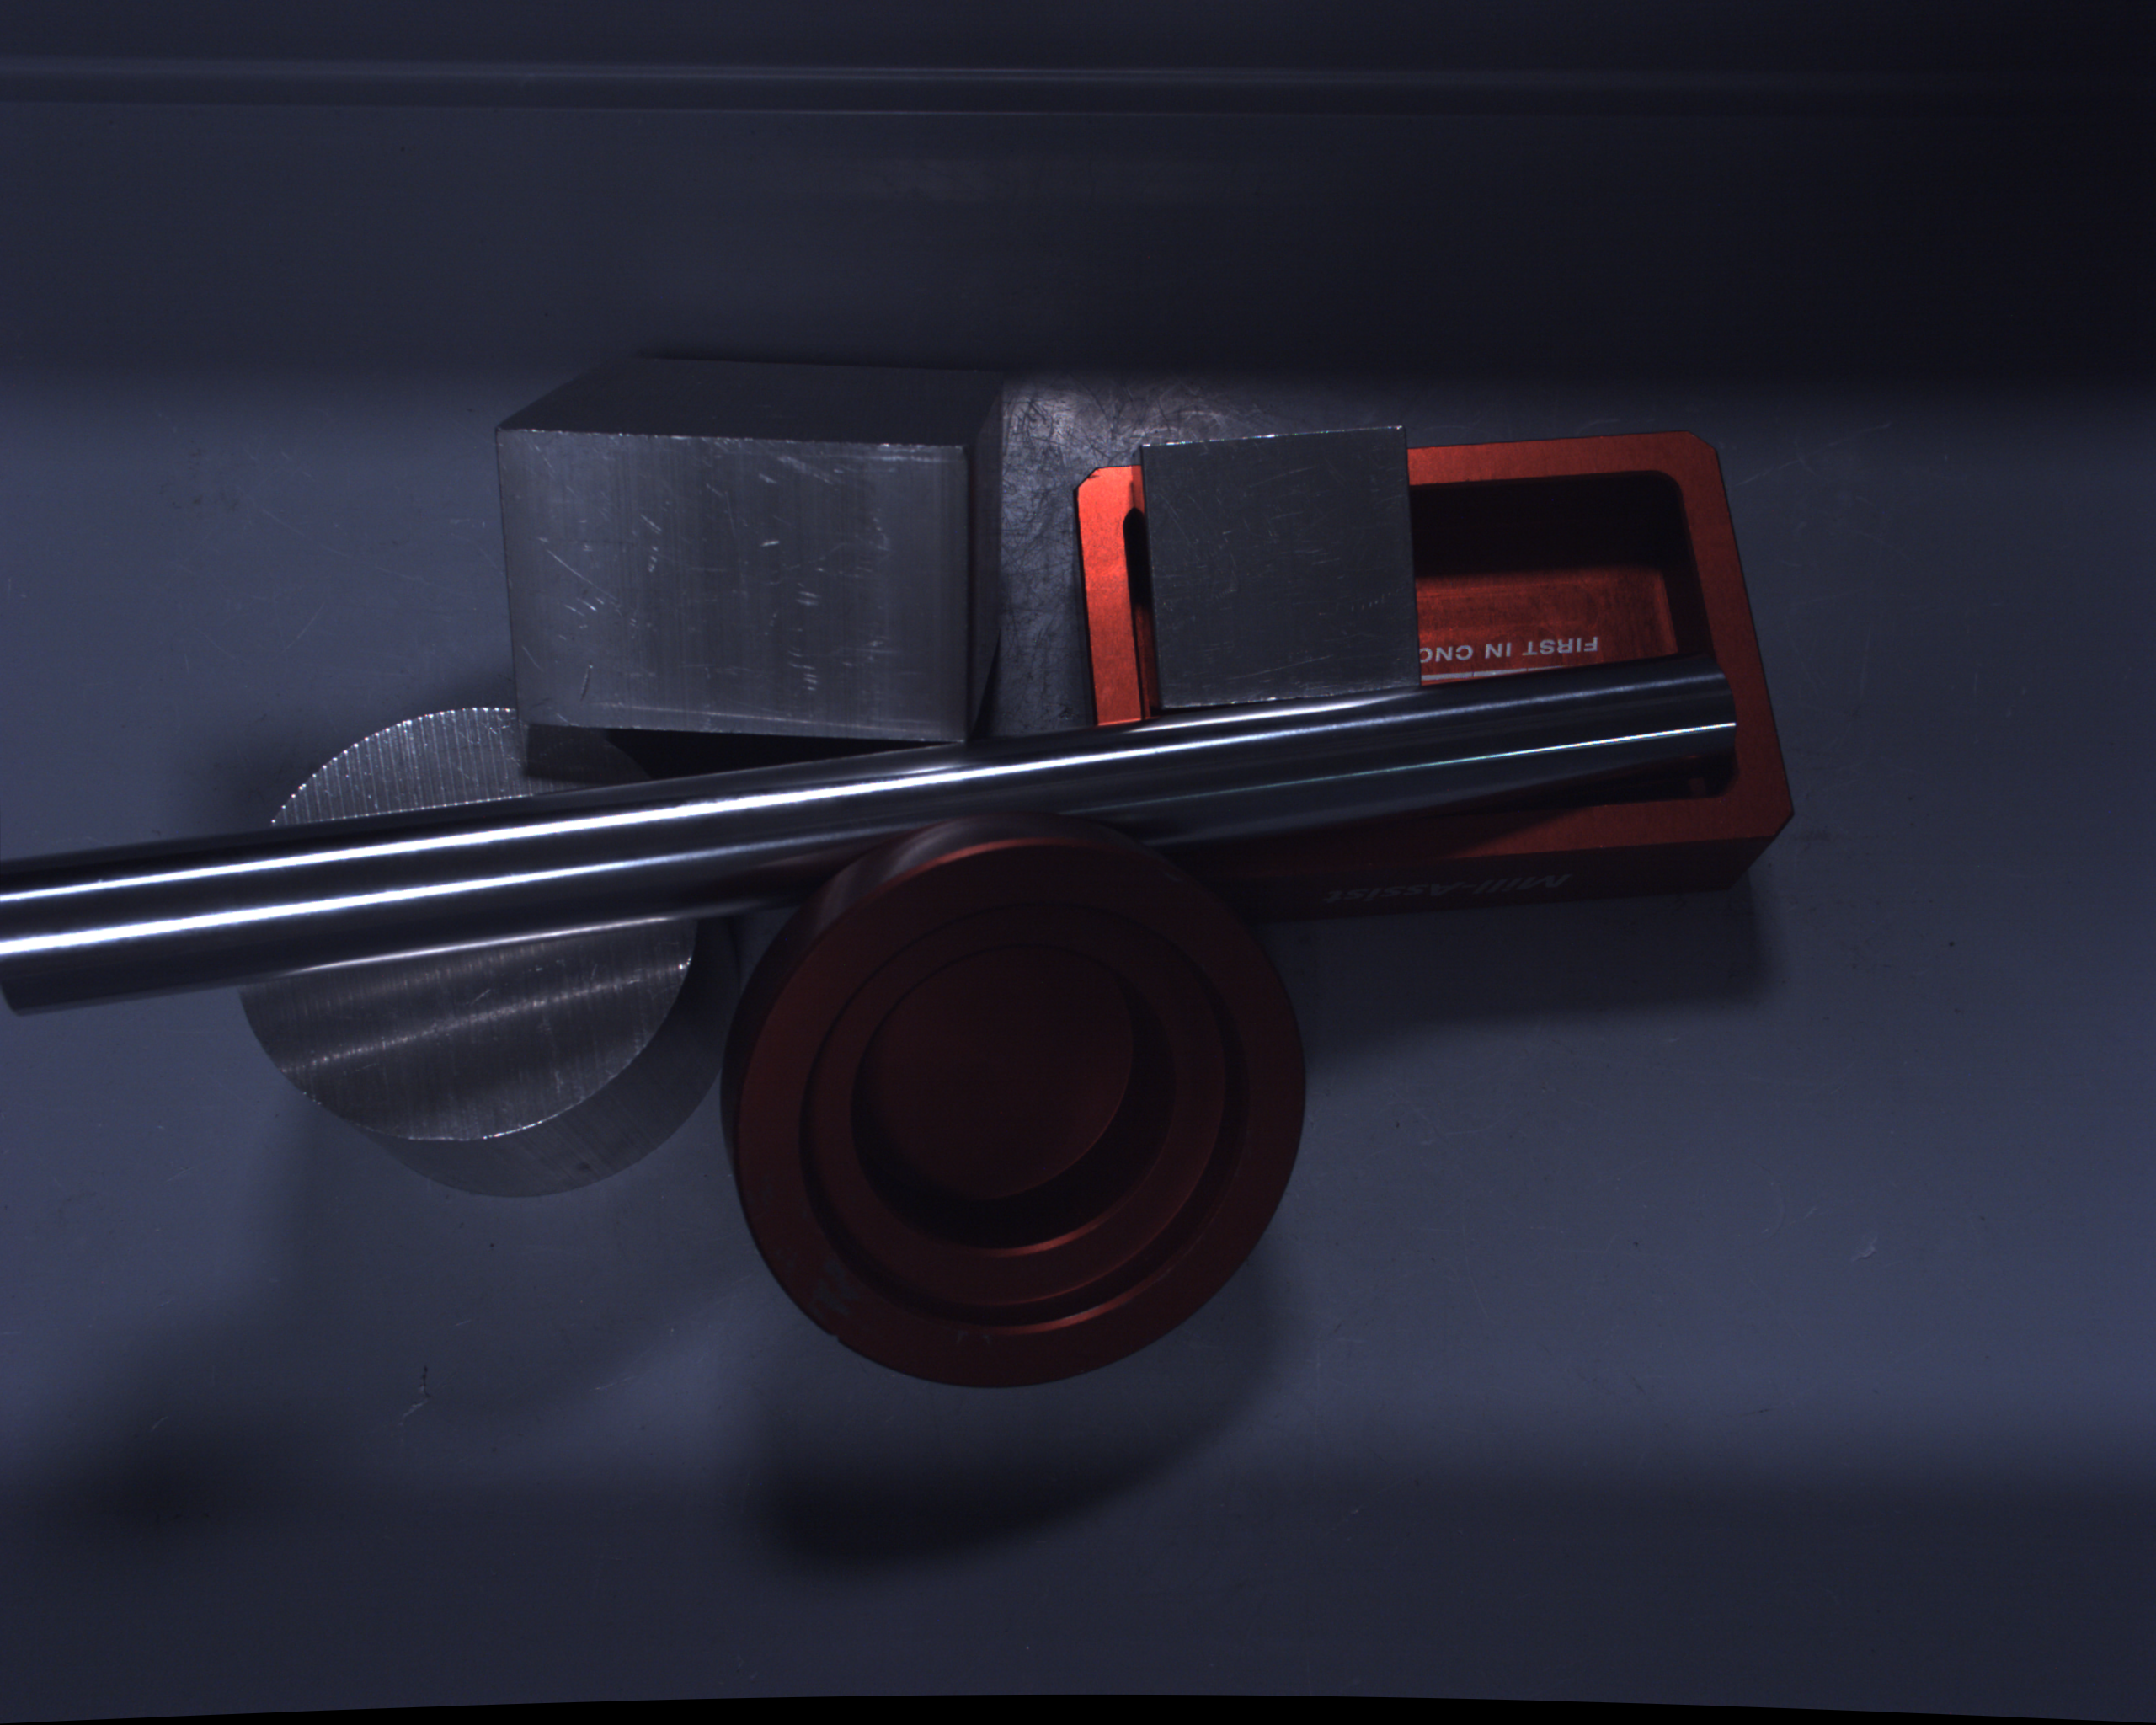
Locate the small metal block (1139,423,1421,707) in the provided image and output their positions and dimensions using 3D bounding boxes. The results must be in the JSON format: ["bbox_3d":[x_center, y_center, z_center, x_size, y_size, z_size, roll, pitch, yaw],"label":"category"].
[{"bbox_3d":[0.038,-0.057,0.407,0.050,0.025,0.050,-5,96,-2],"label":"small metal block"}]

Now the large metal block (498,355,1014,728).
[{"bbox_3d":[-0.055,-0.063,0.393,0.081,0.080,0.050,2,112,1],"label":"large metal block"}]

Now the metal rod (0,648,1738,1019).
[{"bbox_3d":[-0.023,-0.009,0.367,0.302,0.025,0.025,-8,70,-15],"label":"metal rod"}]

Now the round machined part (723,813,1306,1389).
[{"bbox_3d":[-0.013,0.039,0.368,0.099,0.042,0.097,-4,104,-14],"label":"round machined part"}]

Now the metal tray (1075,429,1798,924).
[{"bbox_3d":[0.068,-0.037,0.419,0.131,0.030,0.090,-4,70,-2],"label":"metal tray"}]

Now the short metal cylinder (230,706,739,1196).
[{"bbox_3d":[-0.107,0.017,0.386,0.081,0.050,0.080,0,70,0],"label":"short metal cylinder"}]
